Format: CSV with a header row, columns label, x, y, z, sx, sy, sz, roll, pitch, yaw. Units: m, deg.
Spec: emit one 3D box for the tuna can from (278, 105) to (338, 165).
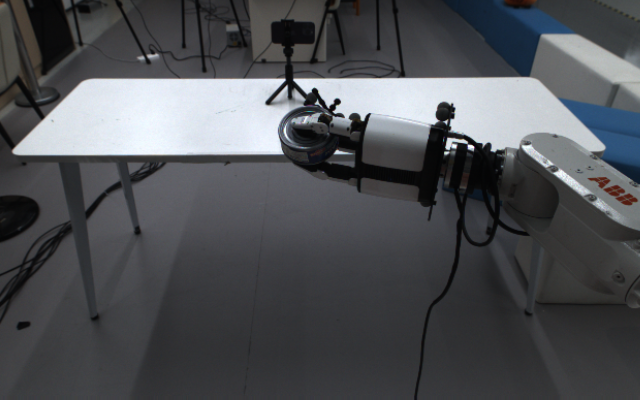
label,x,y,z,sx,sy,sz,roll,pitch,yaw
tuna can,-0.015,-0.095,0.695,0.085,0.034,0.085,-4,58,6
